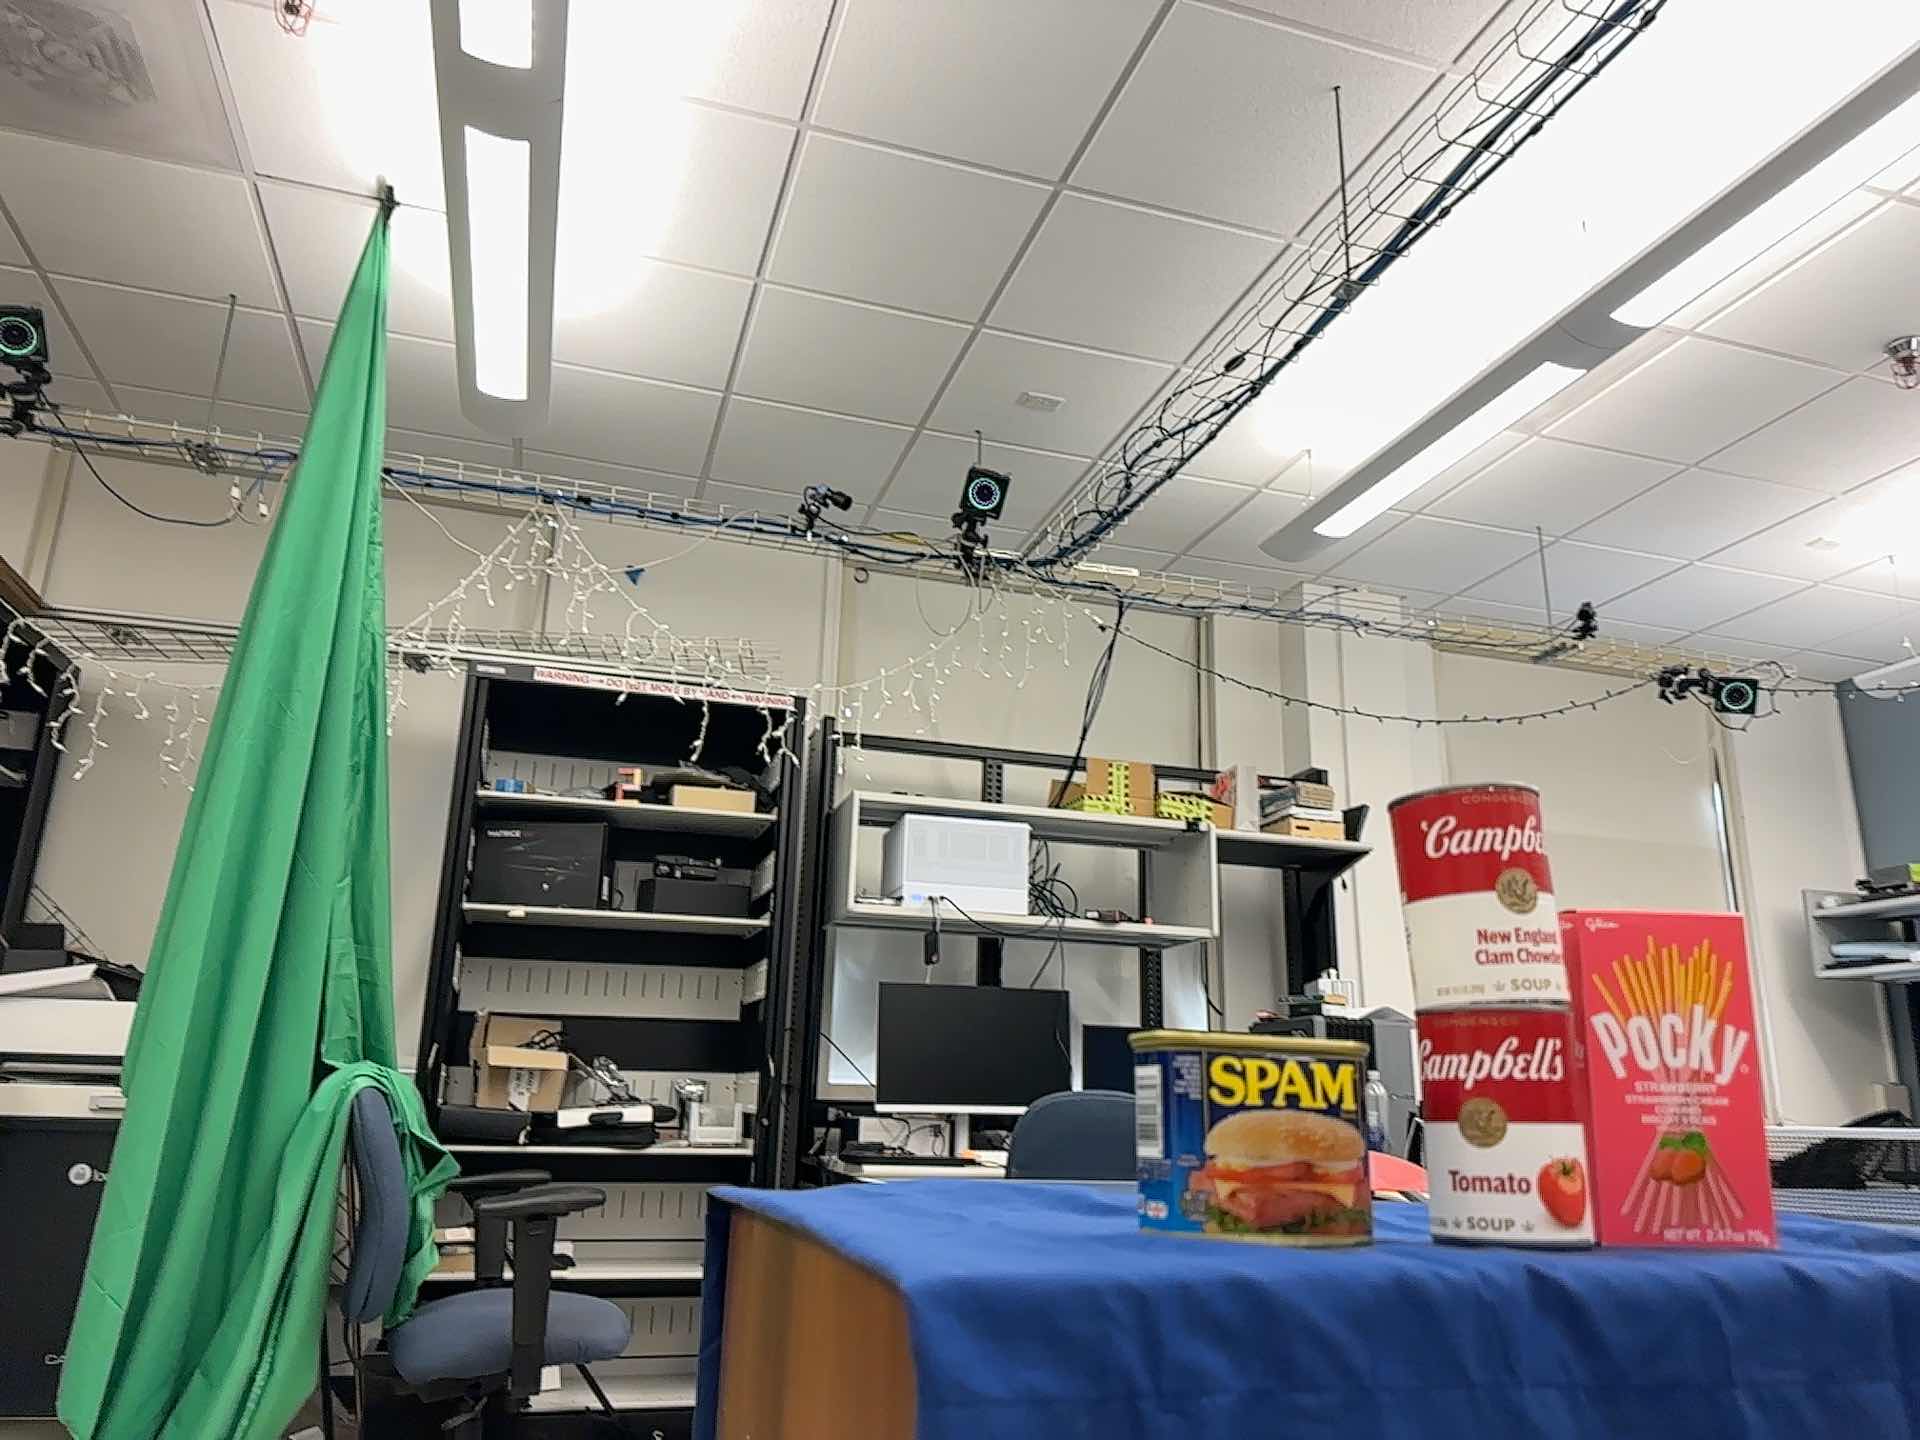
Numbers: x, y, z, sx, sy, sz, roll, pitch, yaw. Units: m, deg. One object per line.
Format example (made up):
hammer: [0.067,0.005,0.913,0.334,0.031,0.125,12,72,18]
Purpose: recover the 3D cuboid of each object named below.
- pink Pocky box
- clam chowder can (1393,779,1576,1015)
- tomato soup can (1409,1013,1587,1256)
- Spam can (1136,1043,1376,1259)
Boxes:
pink Pocky box: [0.326,0.167,0.623,0.084,0.155,0.029,1,-12,-5]
clam chowder can: [0.245,0.086,0.633,0.068,0.102,0.068,-2,-17,-1]
tomato soup can: [0.243,0.187,0.613,0.067,0.102,0.067,1,-15,0]
Spam can: [0.130,0.187,0.590,0.100,0.083,0.056,7,-16,-17]
